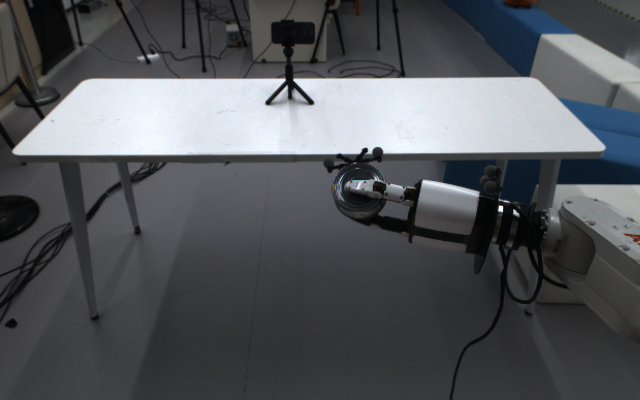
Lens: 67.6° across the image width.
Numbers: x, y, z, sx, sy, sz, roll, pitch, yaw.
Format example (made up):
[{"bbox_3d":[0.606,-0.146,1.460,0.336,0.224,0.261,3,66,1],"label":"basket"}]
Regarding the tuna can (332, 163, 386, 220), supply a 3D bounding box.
[{"bbox_3d":[0.065,-0.009,0.748,0.085,0.034,0.085,-4,68,9],"label":"tuna can"}]
